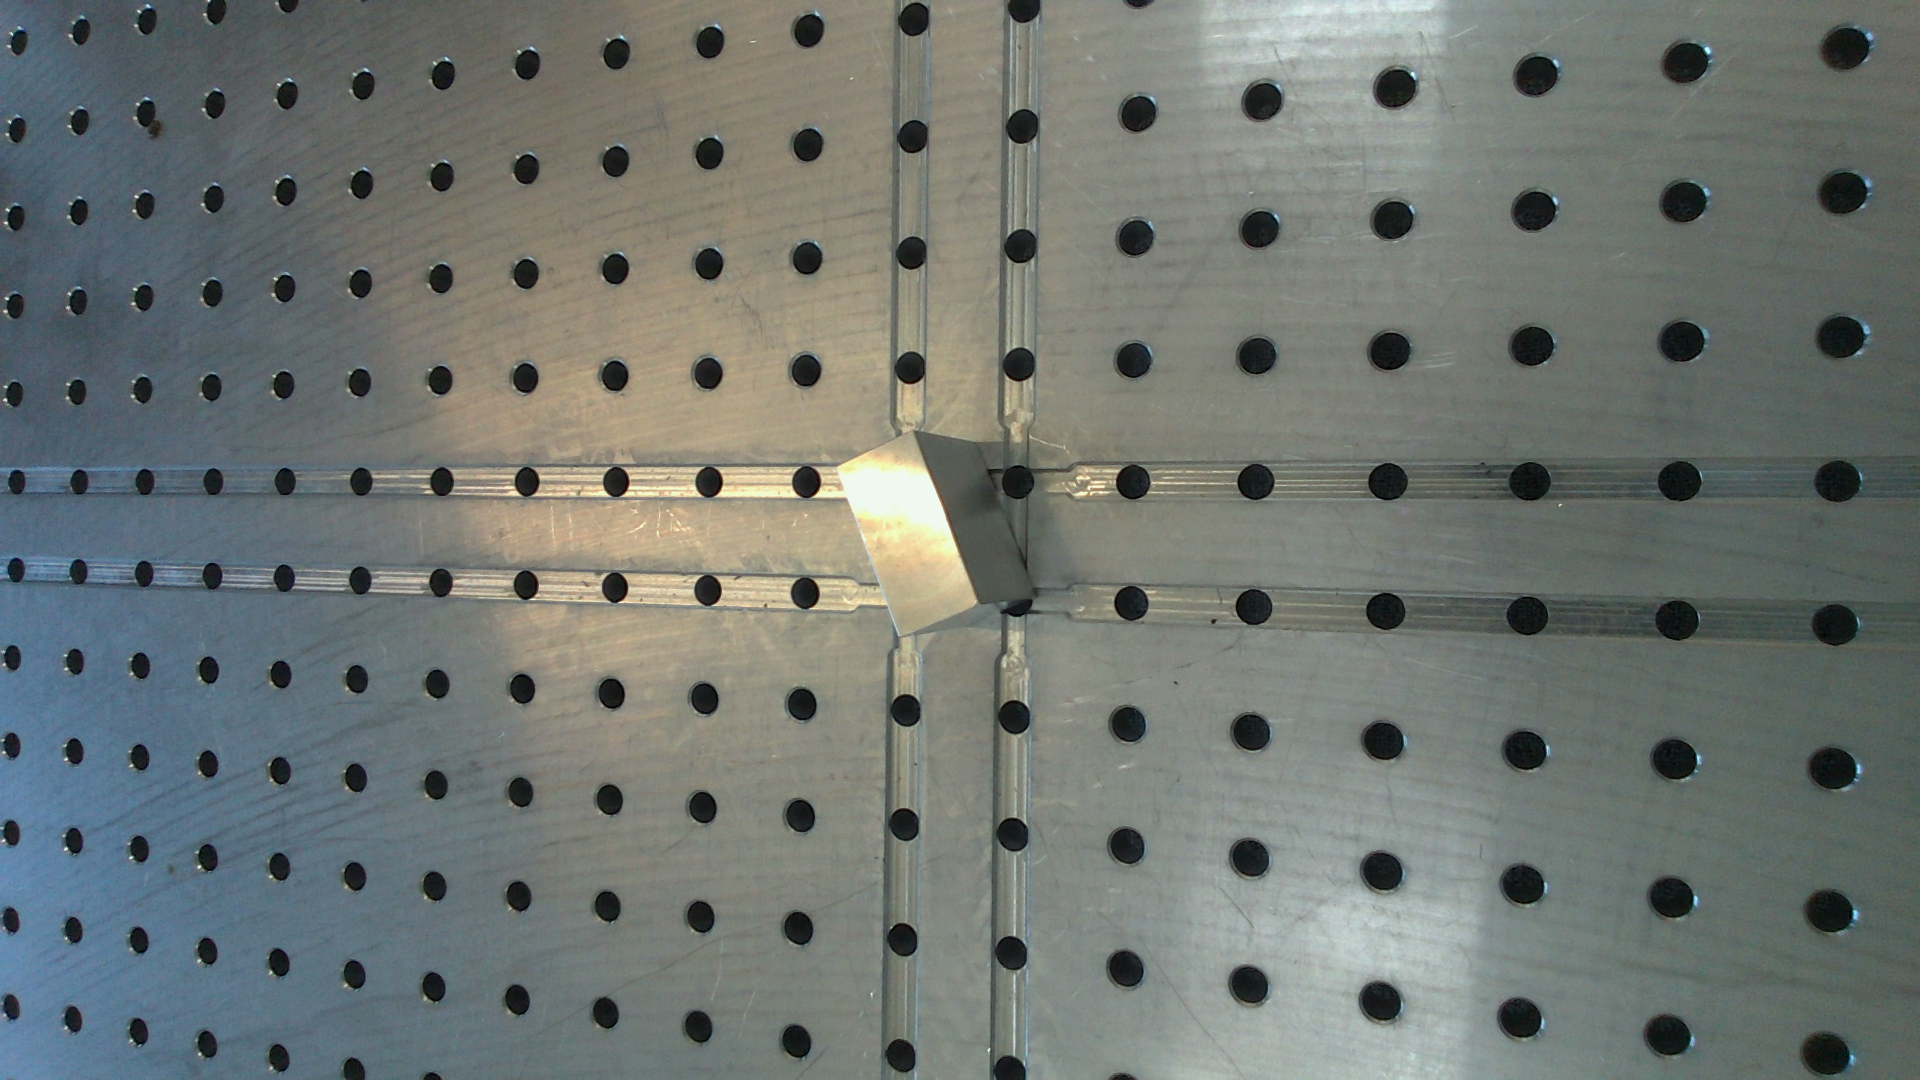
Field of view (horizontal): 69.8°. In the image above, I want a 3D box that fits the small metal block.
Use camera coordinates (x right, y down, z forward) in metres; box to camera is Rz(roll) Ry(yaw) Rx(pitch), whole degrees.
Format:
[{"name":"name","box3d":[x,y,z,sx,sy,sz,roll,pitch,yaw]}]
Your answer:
[{"name":"small metal block","box3d":[-0.005,-0.002,0.387,0.025,0.050,0.050,-24,83,18]}]
